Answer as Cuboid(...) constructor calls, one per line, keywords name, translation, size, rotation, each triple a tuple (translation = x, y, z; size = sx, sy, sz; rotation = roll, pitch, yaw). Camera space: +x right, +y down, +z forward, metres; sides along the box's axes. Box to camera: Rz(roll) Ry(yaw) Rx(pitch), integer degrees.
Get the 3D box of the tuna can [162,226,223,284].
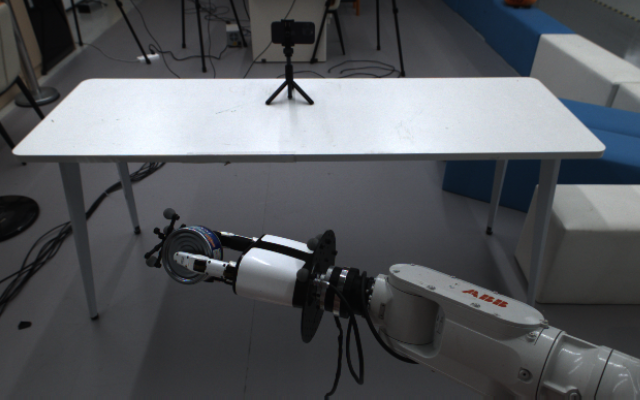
Cuboid(name="tuna can", translation=(-0.187, 0.080, 0.715), size=(0.085, 0.085, 0.034), rotation=(12, 6, 14))
